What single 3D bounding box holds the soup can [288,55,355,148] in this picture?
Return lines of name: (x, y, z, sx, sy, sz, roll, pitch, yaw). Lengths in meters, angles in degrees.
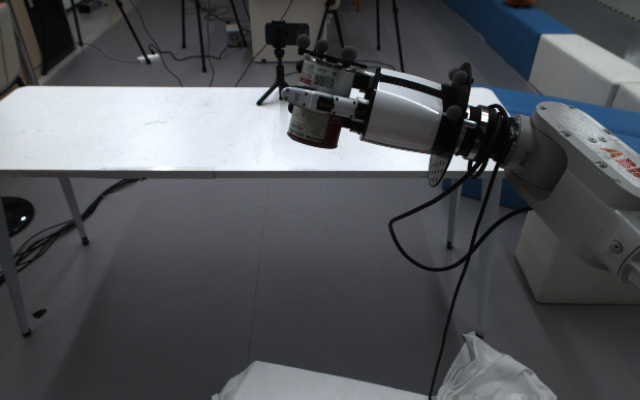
soup can: (0.002, -0.123, 0.615, 0.067, 0.101, 0.067, 13, 18, -4)
